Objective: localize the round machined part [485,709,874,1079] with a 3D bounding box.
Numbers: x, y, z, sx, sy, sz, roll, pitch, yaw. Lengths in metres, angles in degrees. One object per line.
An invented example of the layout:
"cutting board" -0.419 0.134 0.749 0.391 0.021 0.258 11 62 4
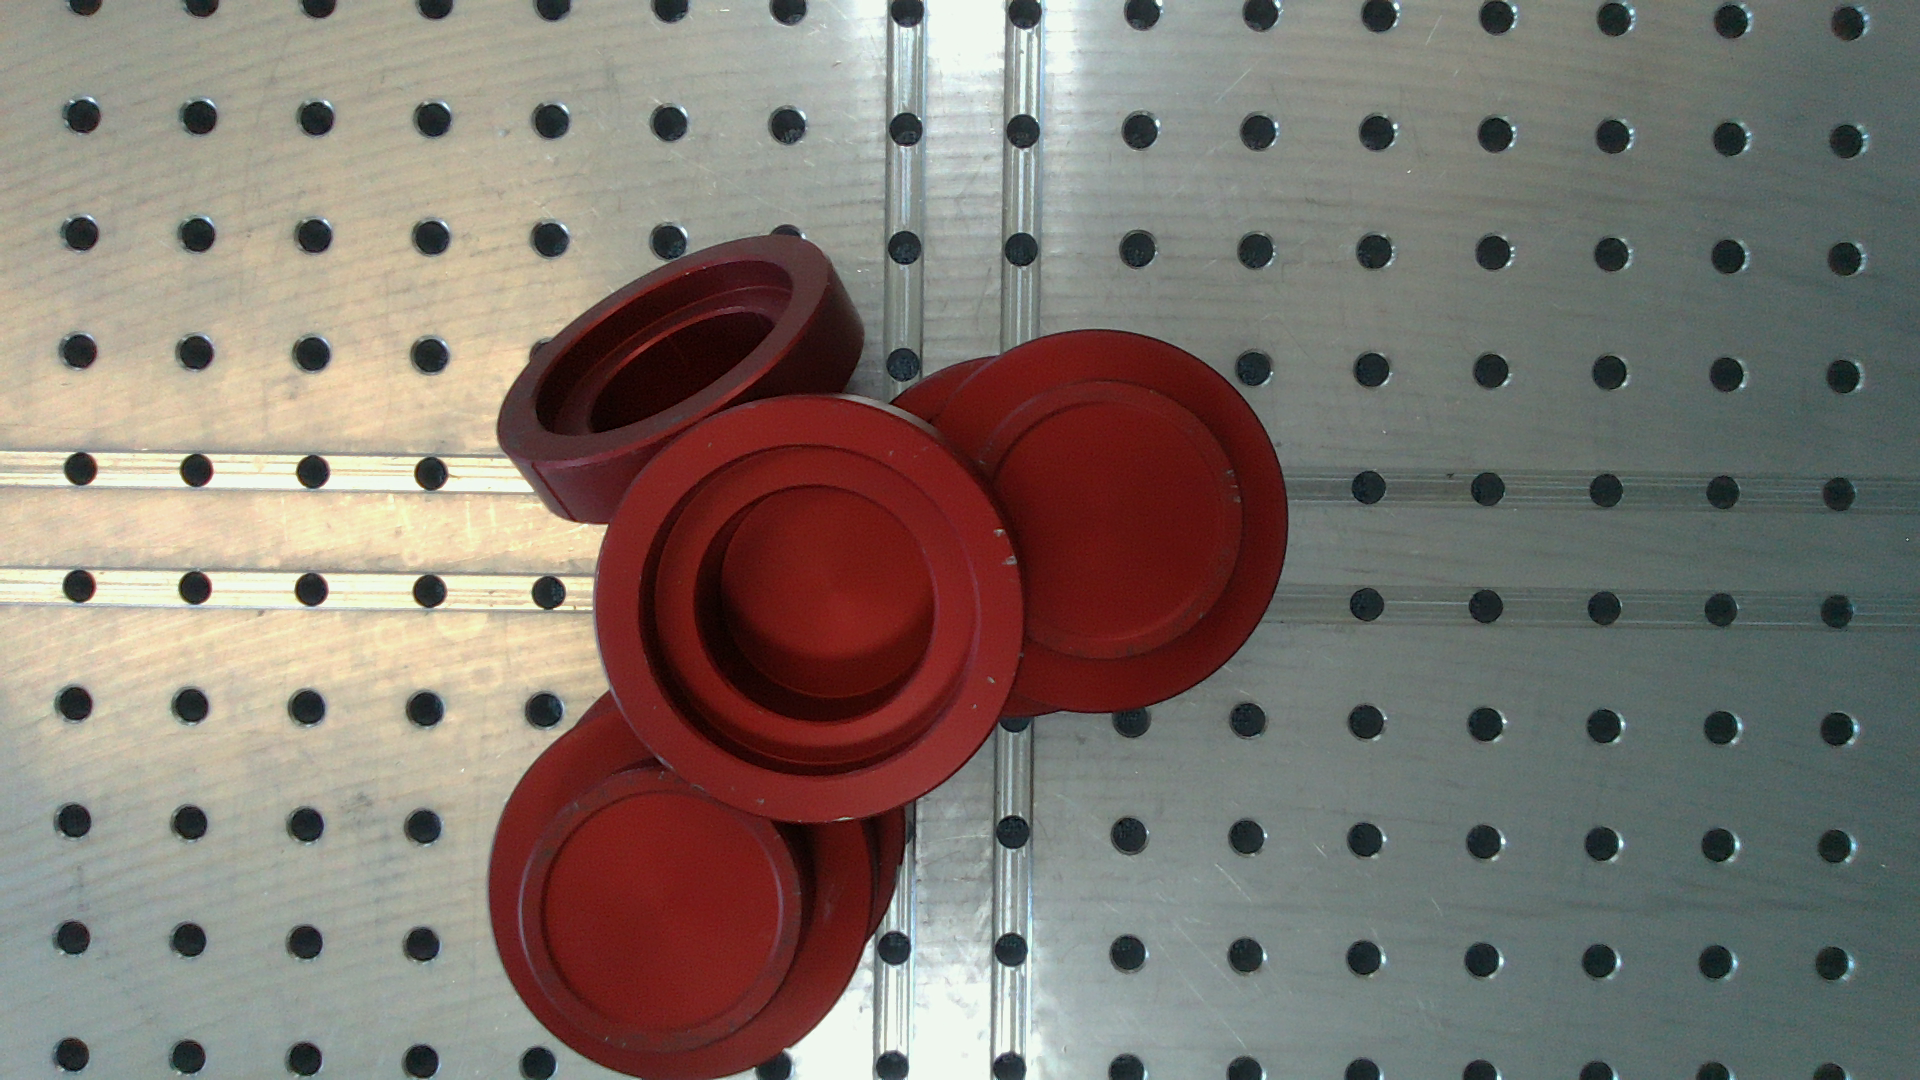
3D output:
"round machined part" -0.071 0.088 0.346 0.098 0.042 0.098 0 90 0

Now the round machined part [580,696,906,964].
"round machined part" -0.064 0.078 0.368 0.098 0.042 0.098 0 90 0

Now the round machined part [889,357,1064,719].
"round machined part" 0.013 -0.001 0.368 0.098 0.042 0.098 0 90 0

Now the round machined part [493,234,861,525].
"round machined part" -0.071 -0.037 0.369 0.098 0.098 0.042 -28 125 0

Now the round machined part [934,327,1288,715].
"round machined part" 0.034 -0.005 0.346 0.098 0.042 0.098 0 90 0

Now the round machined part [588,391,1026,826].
"round machined part" -0.033 0.014 0.325 0.098 0.042 0.098 0 98 3
